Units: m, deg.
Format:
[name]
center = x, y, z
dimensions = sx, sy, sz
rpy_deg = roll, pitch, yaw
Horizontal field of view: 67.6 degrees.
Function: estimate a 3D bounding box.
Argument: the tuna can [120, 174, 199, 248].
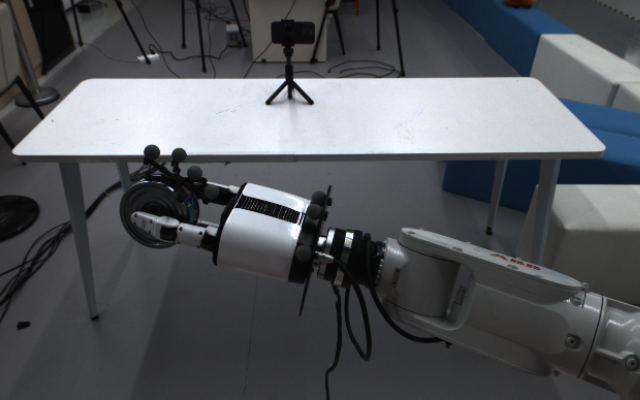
[tuna can]
center = -0.187, 0.014, 0.569
dimensions = 0.085, 0.085, 0.034
rpy_deg = 6, 19, 6
